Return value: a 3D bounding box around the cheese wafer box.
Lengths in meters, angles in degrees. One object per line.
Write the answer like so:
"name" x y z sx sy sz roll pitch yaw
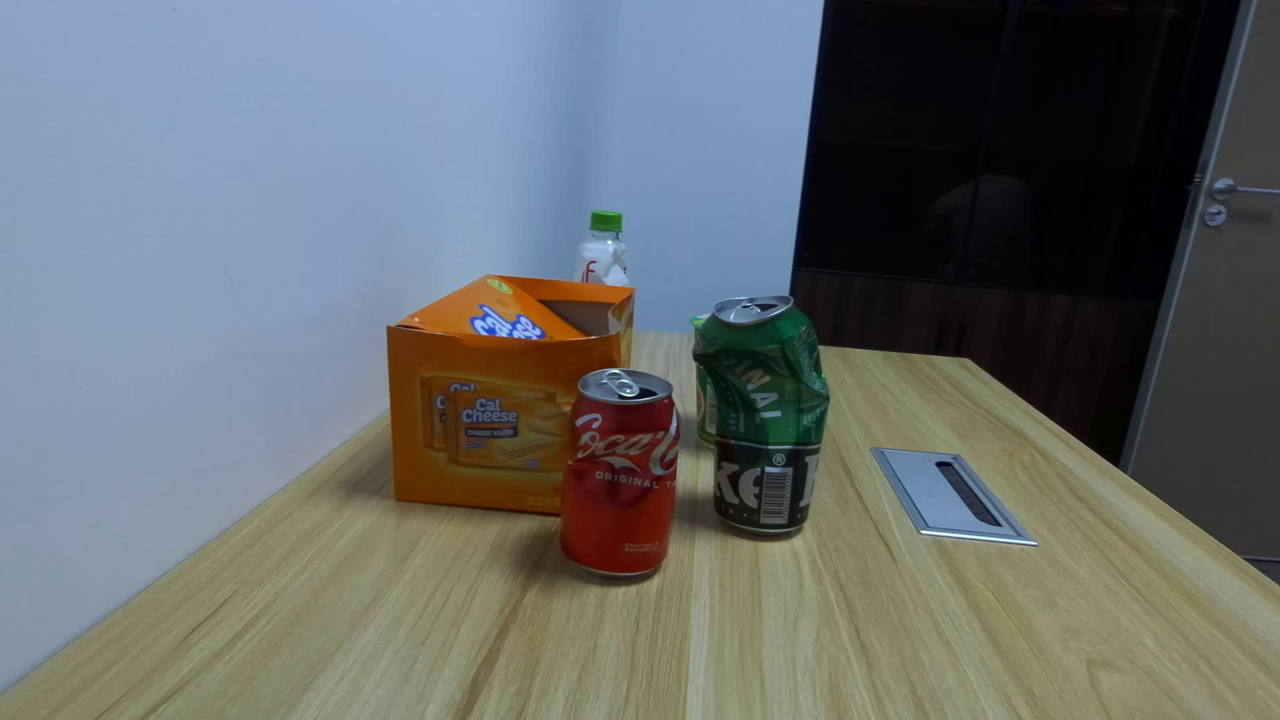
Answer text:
"cheese wafer box" -0.086 0.017 0.569 0.152 0.132 0.230 6 15 2

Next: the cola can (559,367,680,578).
"cola can" -0.013 0.065 0.420 0.066 0.117 0.066 3 17 -4

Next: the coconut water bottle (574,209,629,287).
"coconut water bottle" -0.041 -0.057 0.714 0.069 0.186 0.069 5 13 -1

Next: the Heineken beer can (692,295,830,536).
"Heineken beer can" 0.085 0.037 0.479 0.079 0.159 0.067 -9 15 -18
